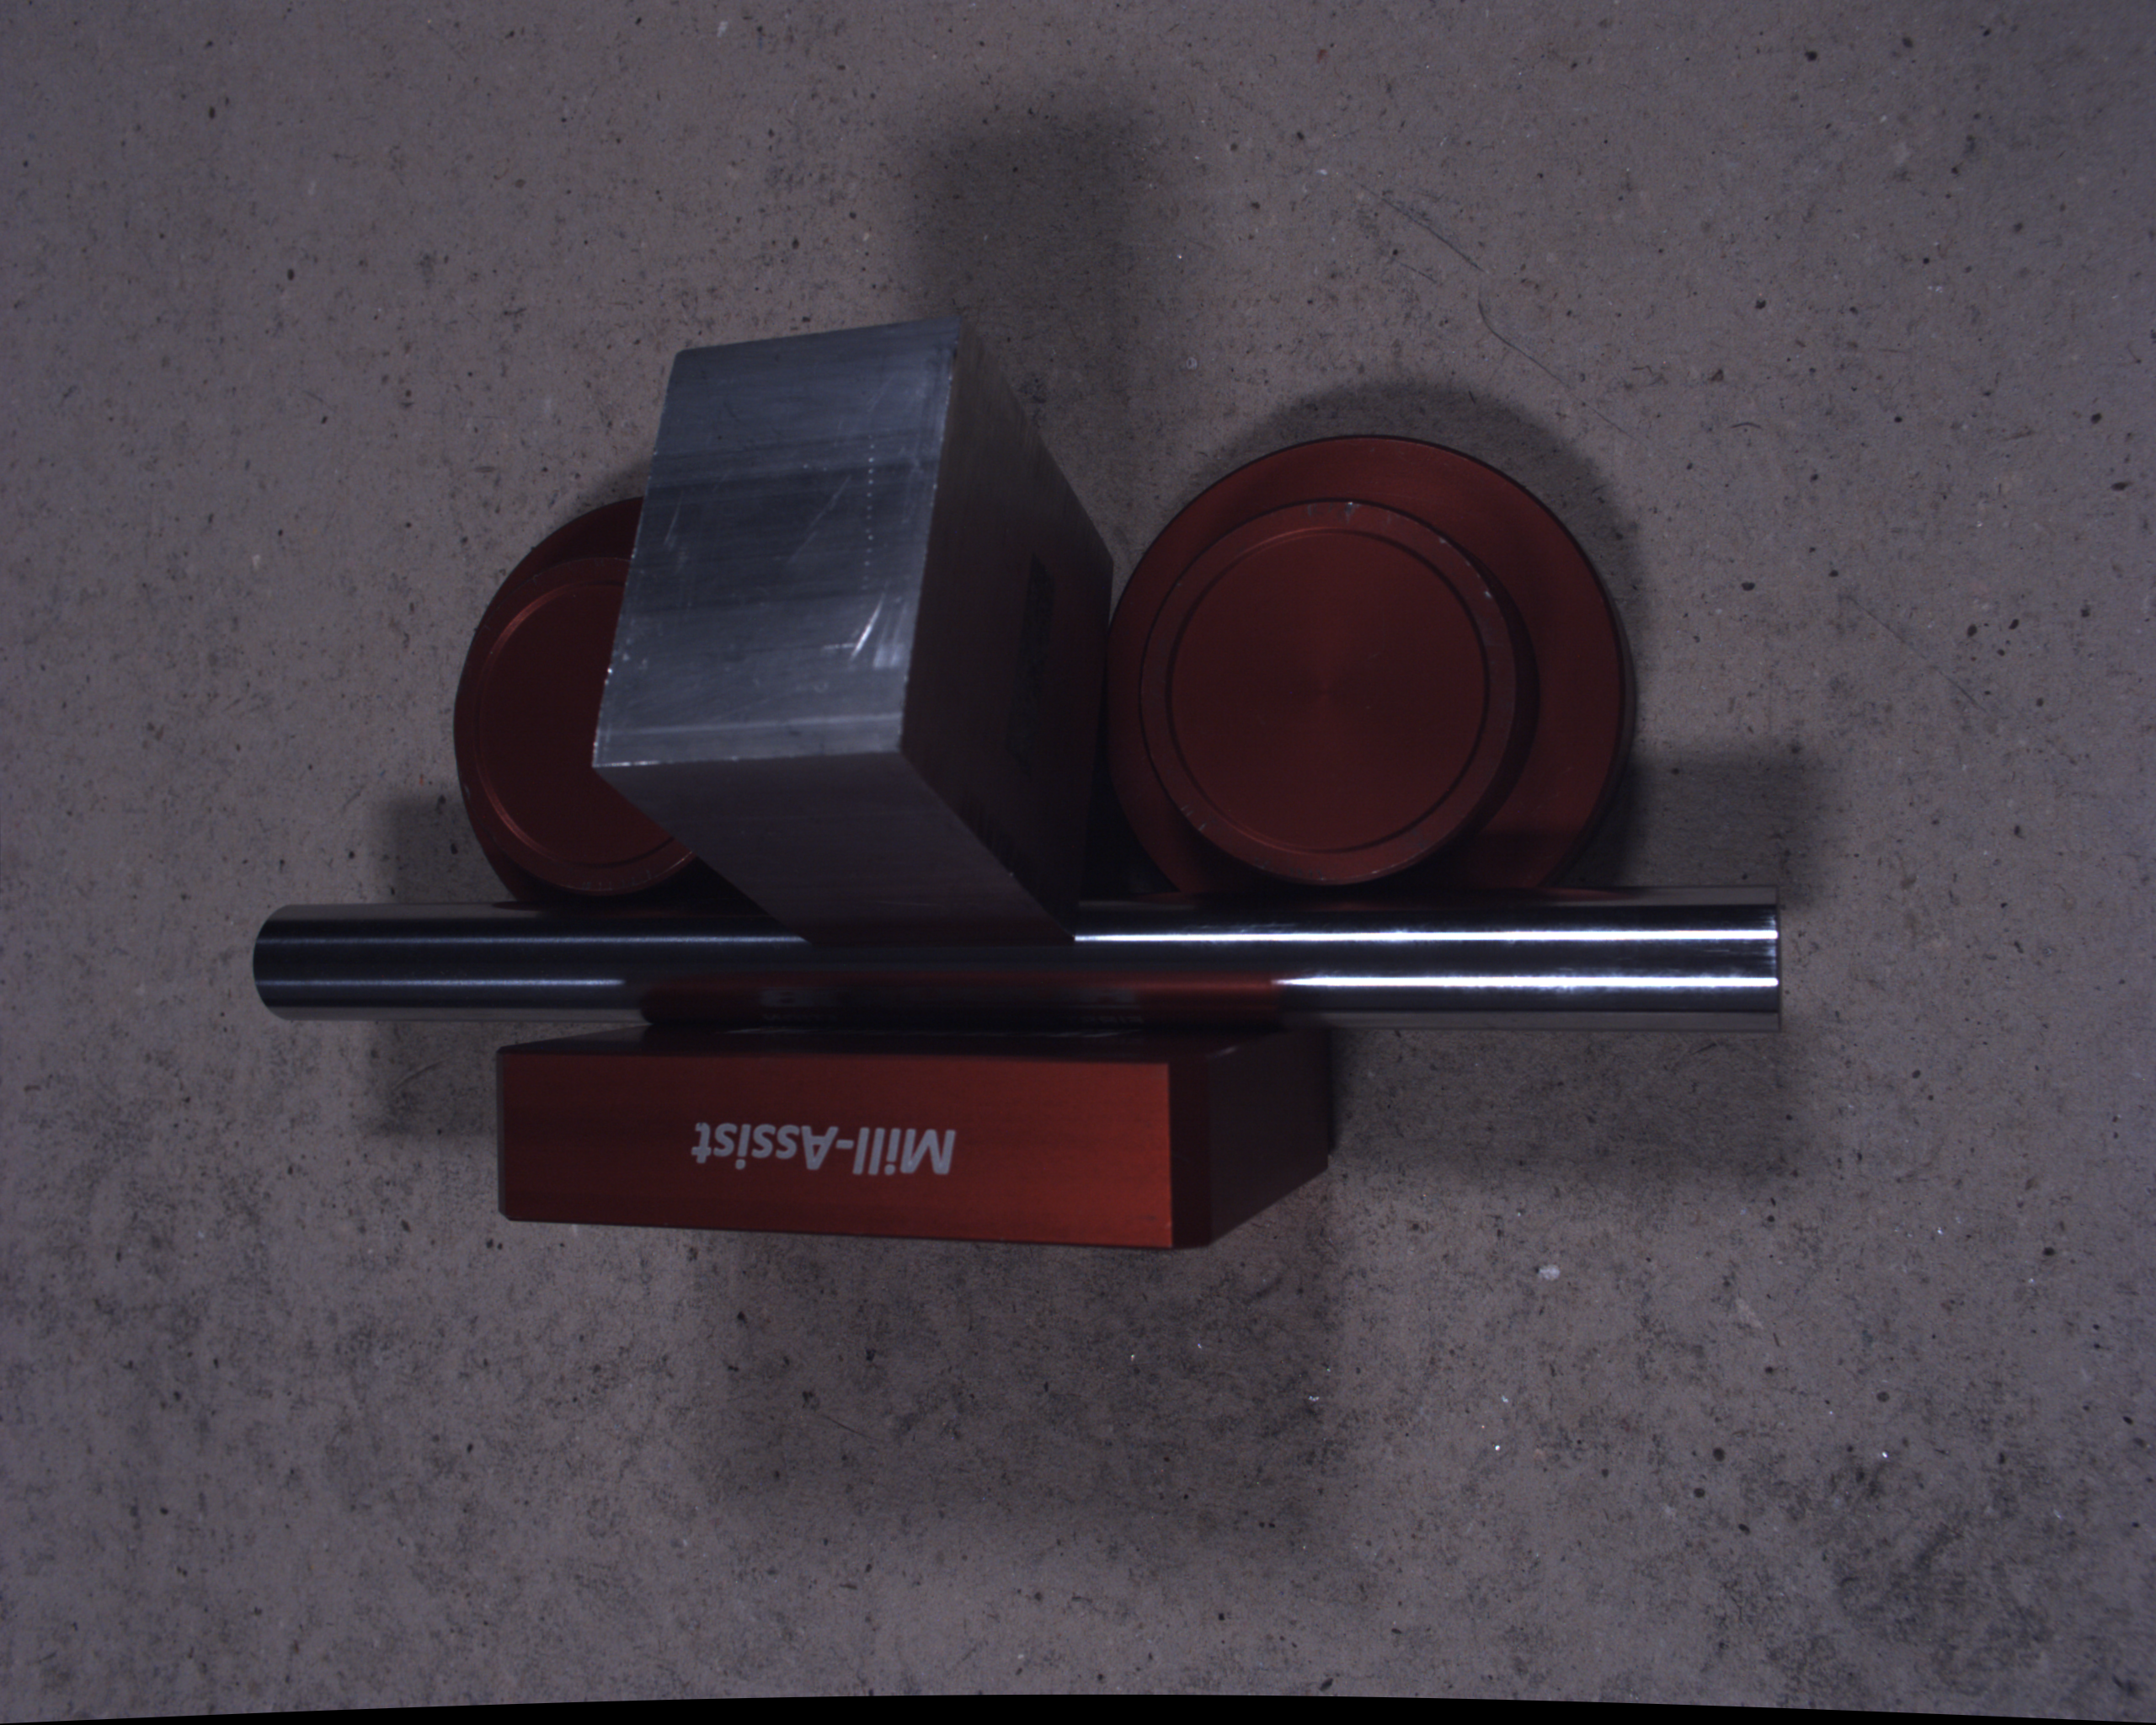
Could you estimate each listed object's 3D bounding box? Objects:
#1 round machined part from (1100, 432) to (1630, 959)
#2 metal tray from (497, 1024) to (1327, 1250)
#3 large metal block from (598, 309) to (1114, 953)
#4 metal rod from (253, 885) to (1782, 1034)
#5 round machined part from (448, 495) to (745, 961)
[{"bbox_3d":[0.050,-0.030,0.382,0.098,0.042,0.097,0,90,19],"label":"round machined part"},{"bbox_3d":[-0.027,0.046,0.384,0.130,0.090,0.030,-1,90,19],"label":"metal tray"},{"bbox_3d":[-0.033,-0.036,0.363,0.050,0.080,0.080,-2,66,19],"label":"large metal block"},{"bbox_3d":[-0.025,0.019,0.396,0.301,0.025,0.025,-1,90,19],"label":"metal rod"},{"bbox_3d":[-0.088,-0.027,0.429,0.098,0.042,0.097,0,90,19],"label":"round machined part"}]
